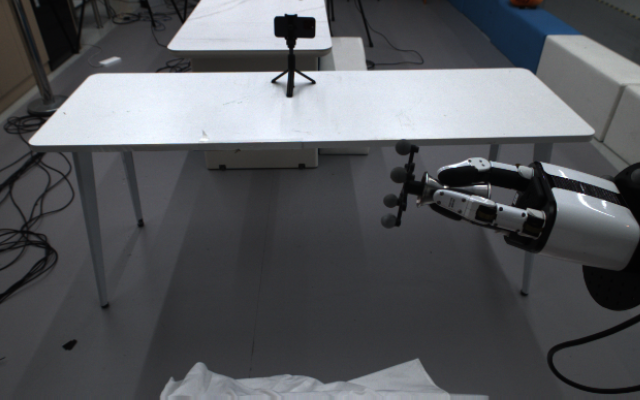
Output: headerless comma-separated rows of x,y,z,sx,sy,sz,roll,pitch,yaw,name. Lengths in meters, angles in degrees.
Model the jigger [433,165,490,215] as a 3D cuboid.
0.148,-0.007,0.521,0.071,0.043,0.043,12,35,4,jigger
